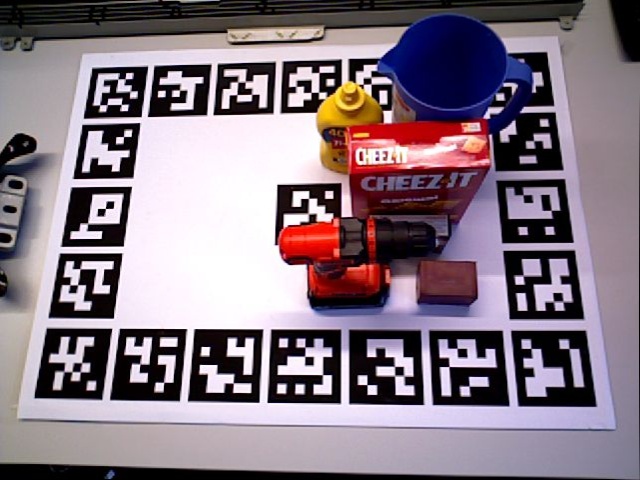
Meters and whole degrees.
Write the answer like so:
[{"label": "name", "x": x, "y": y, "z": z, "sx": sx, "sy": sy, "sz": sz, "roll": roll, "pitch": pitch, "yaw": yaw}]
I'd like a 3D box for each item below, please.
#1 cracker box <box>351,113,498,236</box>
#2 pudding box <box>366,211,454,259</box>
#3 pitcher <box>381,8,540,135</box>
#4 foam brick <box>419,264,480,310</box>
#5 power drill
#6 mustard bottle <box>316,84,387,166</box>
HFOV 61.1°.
[{"label": "cracker box", "x": 0.125, "y": -0.070, "z": 0.698, "sx": 0.164, "sy": 0.215, "sz": 0.071, "roll": -2, "pitch": 70, "yaw": 6}, {"label": "pudding box", "x": 0.119, "y": -0.006, "z": 0.736, "sx": 0.114, "sy": 0.091, "sz": 0.038, "roll": 0, "pitch": 70, "yaw": 8}, {"label": "pitcher", "x": 0.174, "y": -0.169, "z": 0.717, "sx": 0.189, "sy": 0.244, "sz": 0.132, "roll": 6, "pitch": 73, "yaw": 8}, {"label": "foam brick", "x": 0.177, "y": 0.066, "z": 0.744, "sx": 0.078, "sy": 0.052, "sz": 0.052, "roll": 2, "pitch": 75, "yaw": 5}, {"label": "power drill", "x": 0.052, "y": 0.030, "z": 0.659, "sx": 0.184, "sy": 0.189, "sz": 0.057, "roll": -1, "pitch": 68, "yaw": 3}, {"label": "mustard bottle", "x": 0.042, "y": -0.165, "z": 0.740, "sx": 0.096, "sy": 0.193, "sz": 0.058, "roll": 13, "pitch": 74, "yaw": 8}]
